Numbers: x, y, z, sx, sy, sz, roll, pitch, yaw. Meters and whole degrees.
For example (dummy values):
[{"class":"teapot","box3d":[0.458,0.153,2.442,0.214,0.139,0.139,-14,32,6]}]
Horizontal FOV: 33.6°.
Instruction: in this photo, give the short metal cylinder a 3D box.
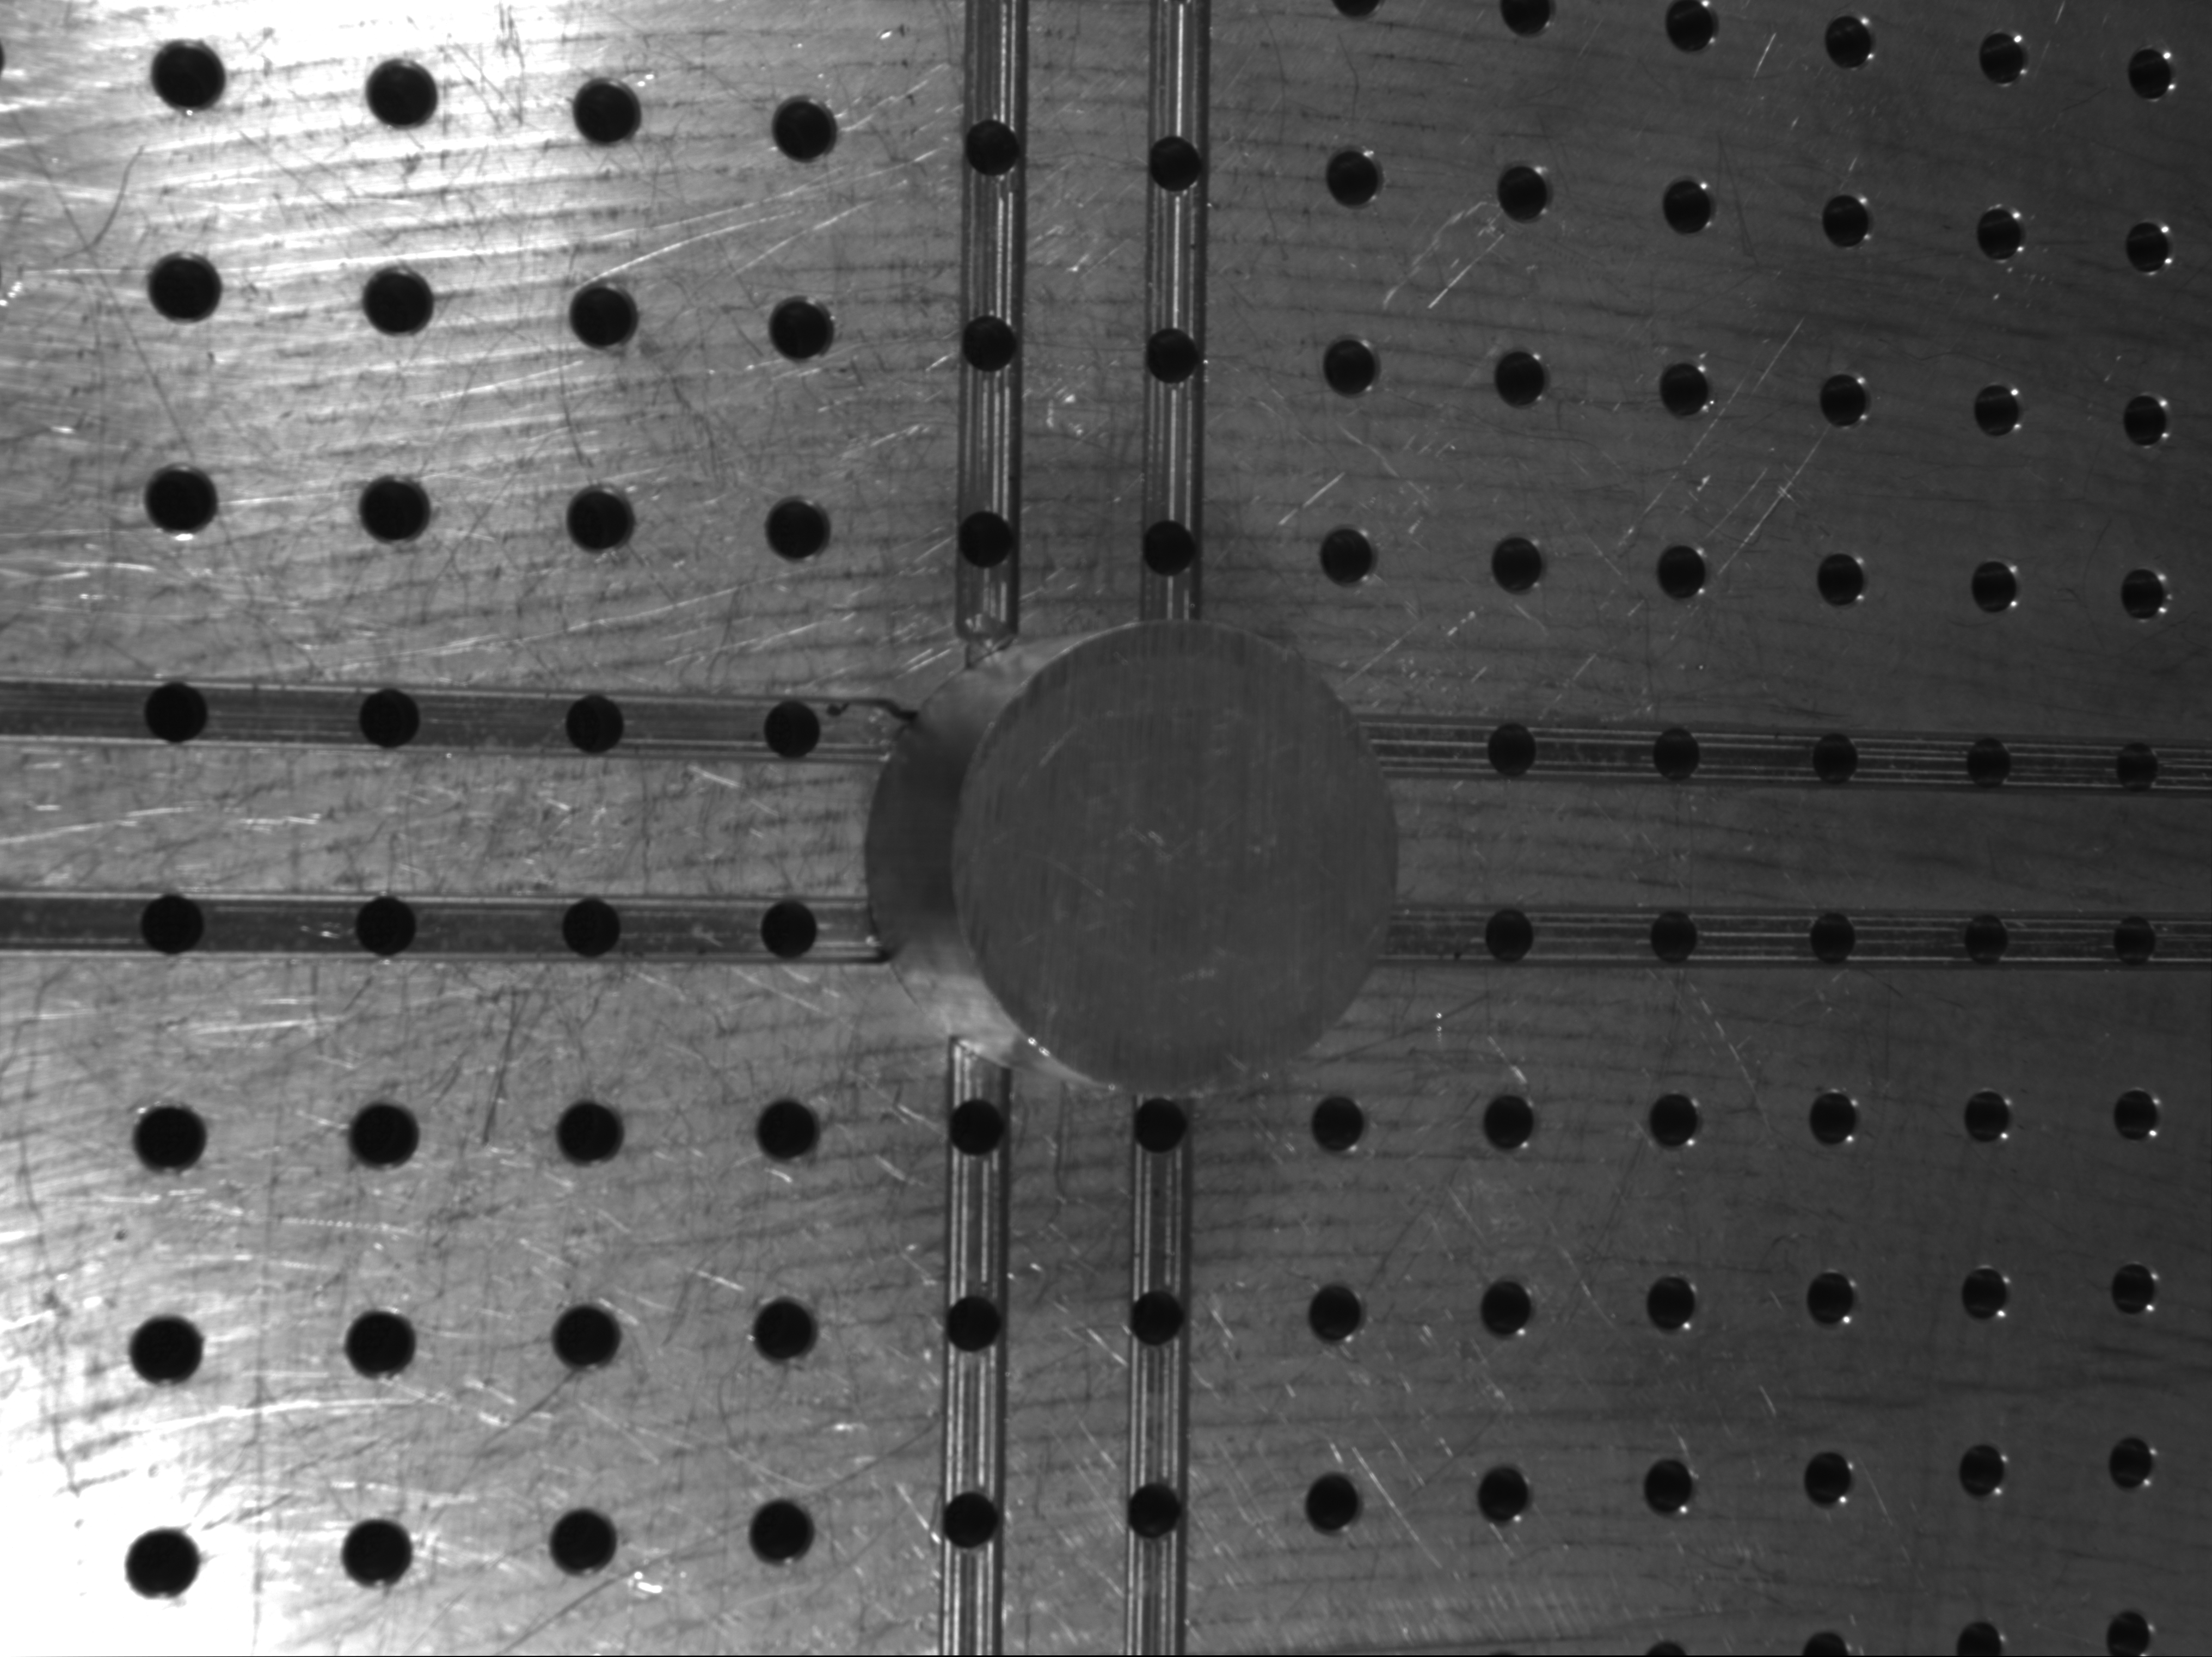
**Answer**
[{"class":"short metal cylinder","box3d":[0.007,0.005,0.635,0.080,0.050,0.080,0,90,-20]}]
